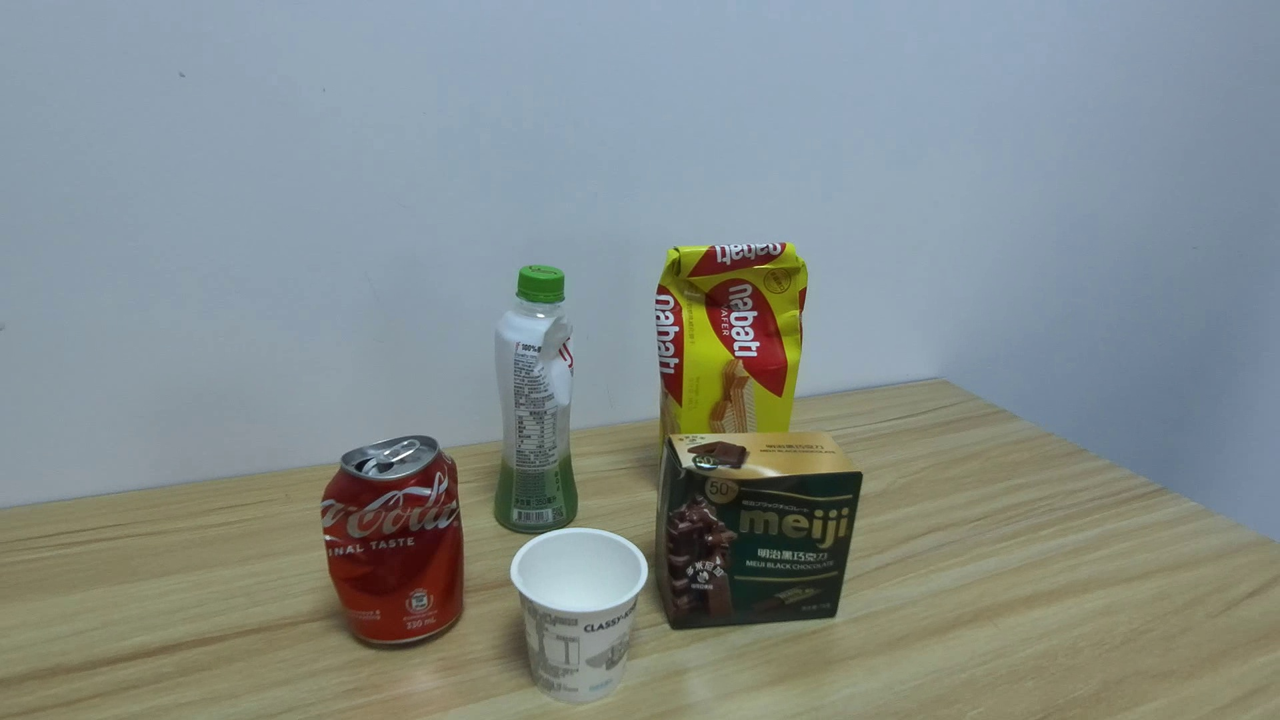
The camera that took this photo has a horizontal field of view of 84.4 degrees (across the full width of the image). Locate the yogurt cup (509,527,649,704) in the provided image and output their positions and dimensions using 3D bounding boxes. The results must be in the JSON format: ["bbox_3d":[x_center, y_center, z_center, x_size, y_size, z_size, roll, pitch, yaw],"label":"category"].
[{"bbox_3d":[-0.033,0.141,0.385,0.072,0.068,0.072,3,21,-1],"label":"yogurt cup"}]

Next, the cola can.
[{"bbox_3d":[-0.137,0.103,0.409,0.069,0.112,0.065,1,20,-5],"label":"cola can"}]

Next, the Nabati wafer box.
[{"bbox_3d":[0.067,0.015,0.534,0.113,0.205,0.042,-6,22,-19],"label":"Nabati wafer box"}]

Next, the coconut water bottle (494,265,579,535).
[{"bbox_3d":[-0.074,0.027,0.507,0.069,0.187,0.069,3,18,-1],"label":"coconut water bottle"}]
